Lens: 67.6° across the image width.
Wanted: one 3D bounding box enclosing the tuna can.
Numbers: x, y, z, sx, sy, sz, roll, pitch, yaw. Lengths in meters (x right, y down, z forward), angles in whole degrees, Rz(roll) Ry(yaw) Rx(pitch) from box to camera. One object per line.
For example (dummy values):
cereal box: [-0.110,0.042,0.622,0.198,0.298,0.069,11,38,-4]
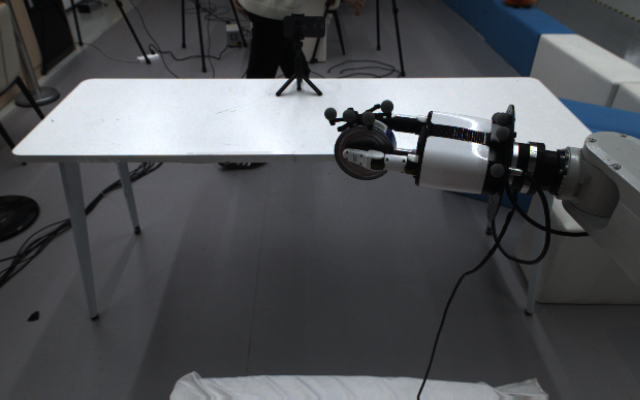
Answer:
tuna can: [0.067,-0.074,0.692,0.085,0.085,0.034,10,34,11]
